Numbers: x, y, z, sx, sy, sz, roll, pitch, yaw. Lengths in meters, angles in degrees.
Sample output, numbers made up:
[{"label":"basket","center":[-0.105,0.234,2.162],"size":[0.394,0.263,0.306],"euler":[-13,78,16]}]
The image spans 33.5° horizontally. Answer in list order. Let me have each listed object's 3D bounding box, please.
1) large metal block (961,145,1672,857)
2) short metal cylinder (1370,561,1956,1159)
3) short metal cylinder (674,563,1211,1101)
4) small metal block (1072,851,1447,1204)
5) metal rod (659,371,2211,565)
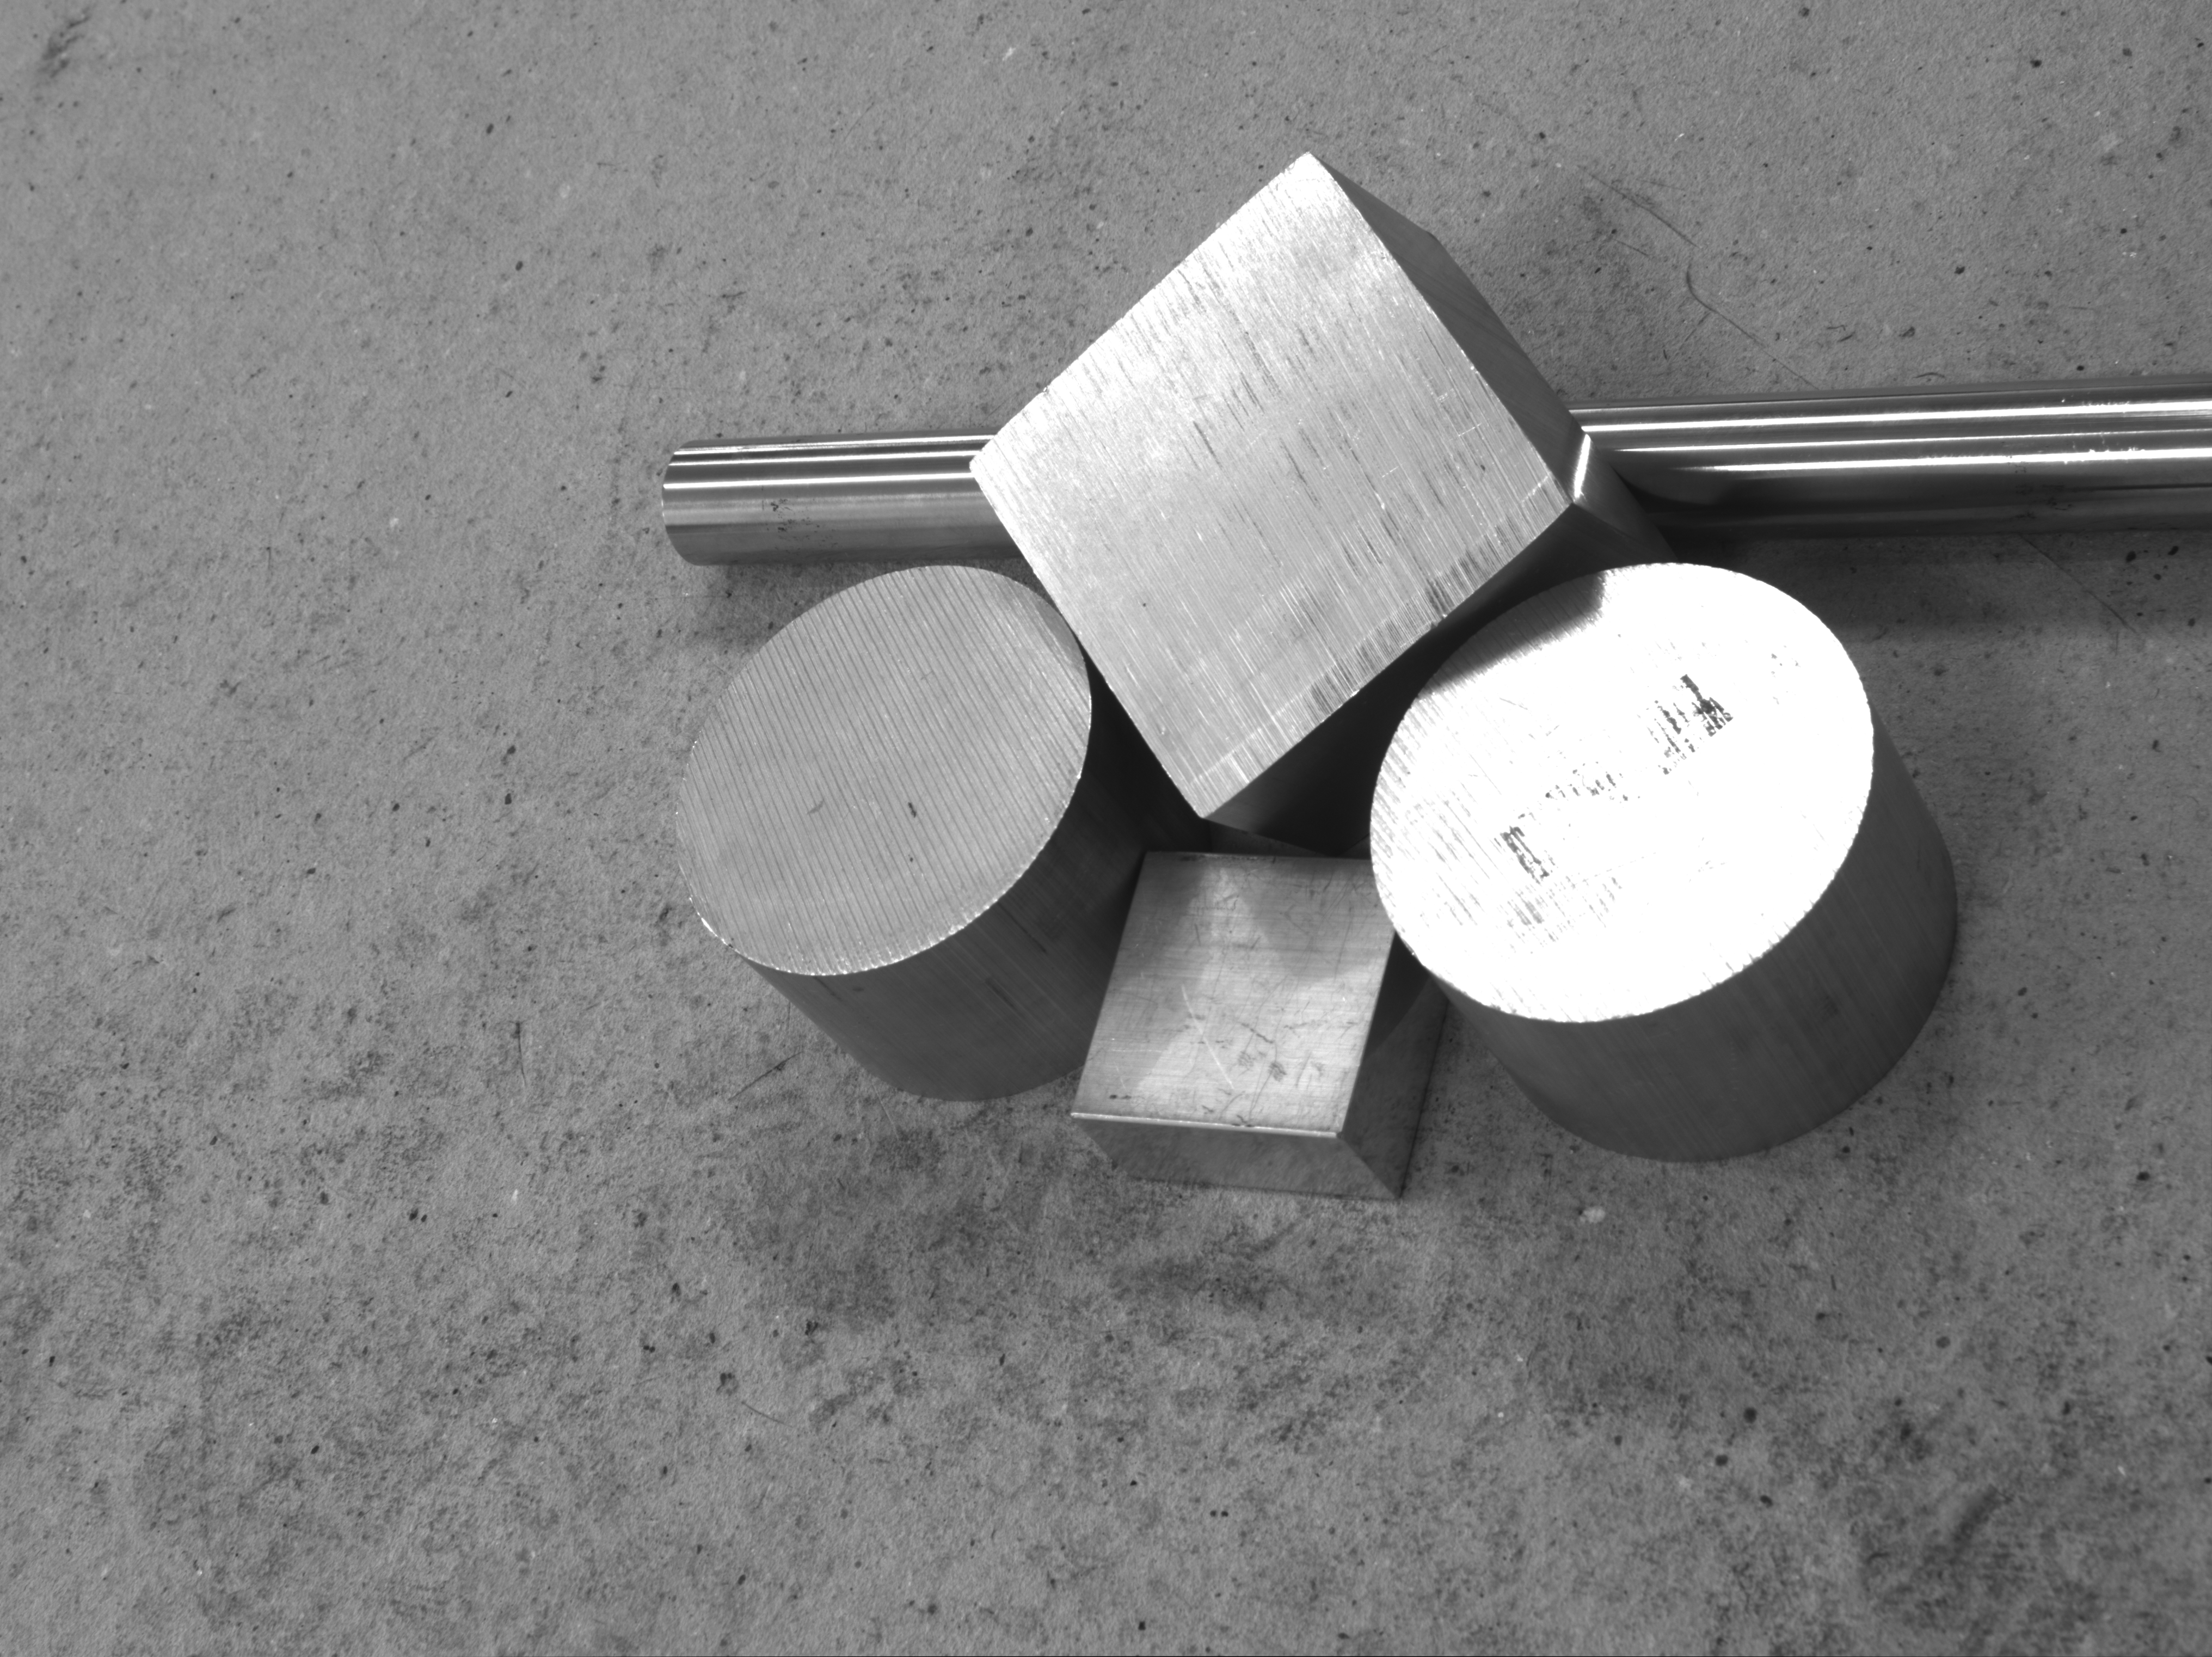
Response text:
[{"label":"large metal block","center":[0.036,-0.053,0.620],"size":[0.080,0.050,0.080],"euler":[-41,66,18]},{"label":"short metal cylinder","center":[0.088,0.005,0.579],"size":[0.080,0.050,0.080],"euler":[-14,56,21]},{"label":"short metal cylinder","center":[-0.028,0.001,0.644],"size":[0.080,0.050,0.080],"euler":[-14,56,21]},{"label":"small metal block","center":[0.028,0.033,0.612],"size":[0.050,0.025,0.050],"euler":[2,62,29]},{"label":"metal rod","center":[0.050,-0.063,0.657],"size":[0.299,0.025,0.025],"euler":[1,62,29]}]
